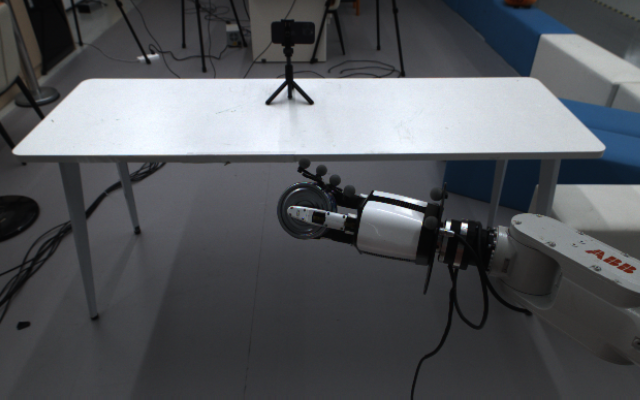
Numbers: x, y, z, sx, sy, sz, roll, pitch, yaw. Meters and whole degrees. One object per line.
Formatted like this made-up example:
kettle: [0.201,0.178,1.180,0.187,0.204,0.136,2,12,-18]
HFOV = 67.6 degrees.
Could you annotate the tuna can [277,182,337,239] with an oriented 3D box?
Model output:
tuna can: [-0.018,0.014,0.716,0.085,0.085,0.034,12,4,15]
